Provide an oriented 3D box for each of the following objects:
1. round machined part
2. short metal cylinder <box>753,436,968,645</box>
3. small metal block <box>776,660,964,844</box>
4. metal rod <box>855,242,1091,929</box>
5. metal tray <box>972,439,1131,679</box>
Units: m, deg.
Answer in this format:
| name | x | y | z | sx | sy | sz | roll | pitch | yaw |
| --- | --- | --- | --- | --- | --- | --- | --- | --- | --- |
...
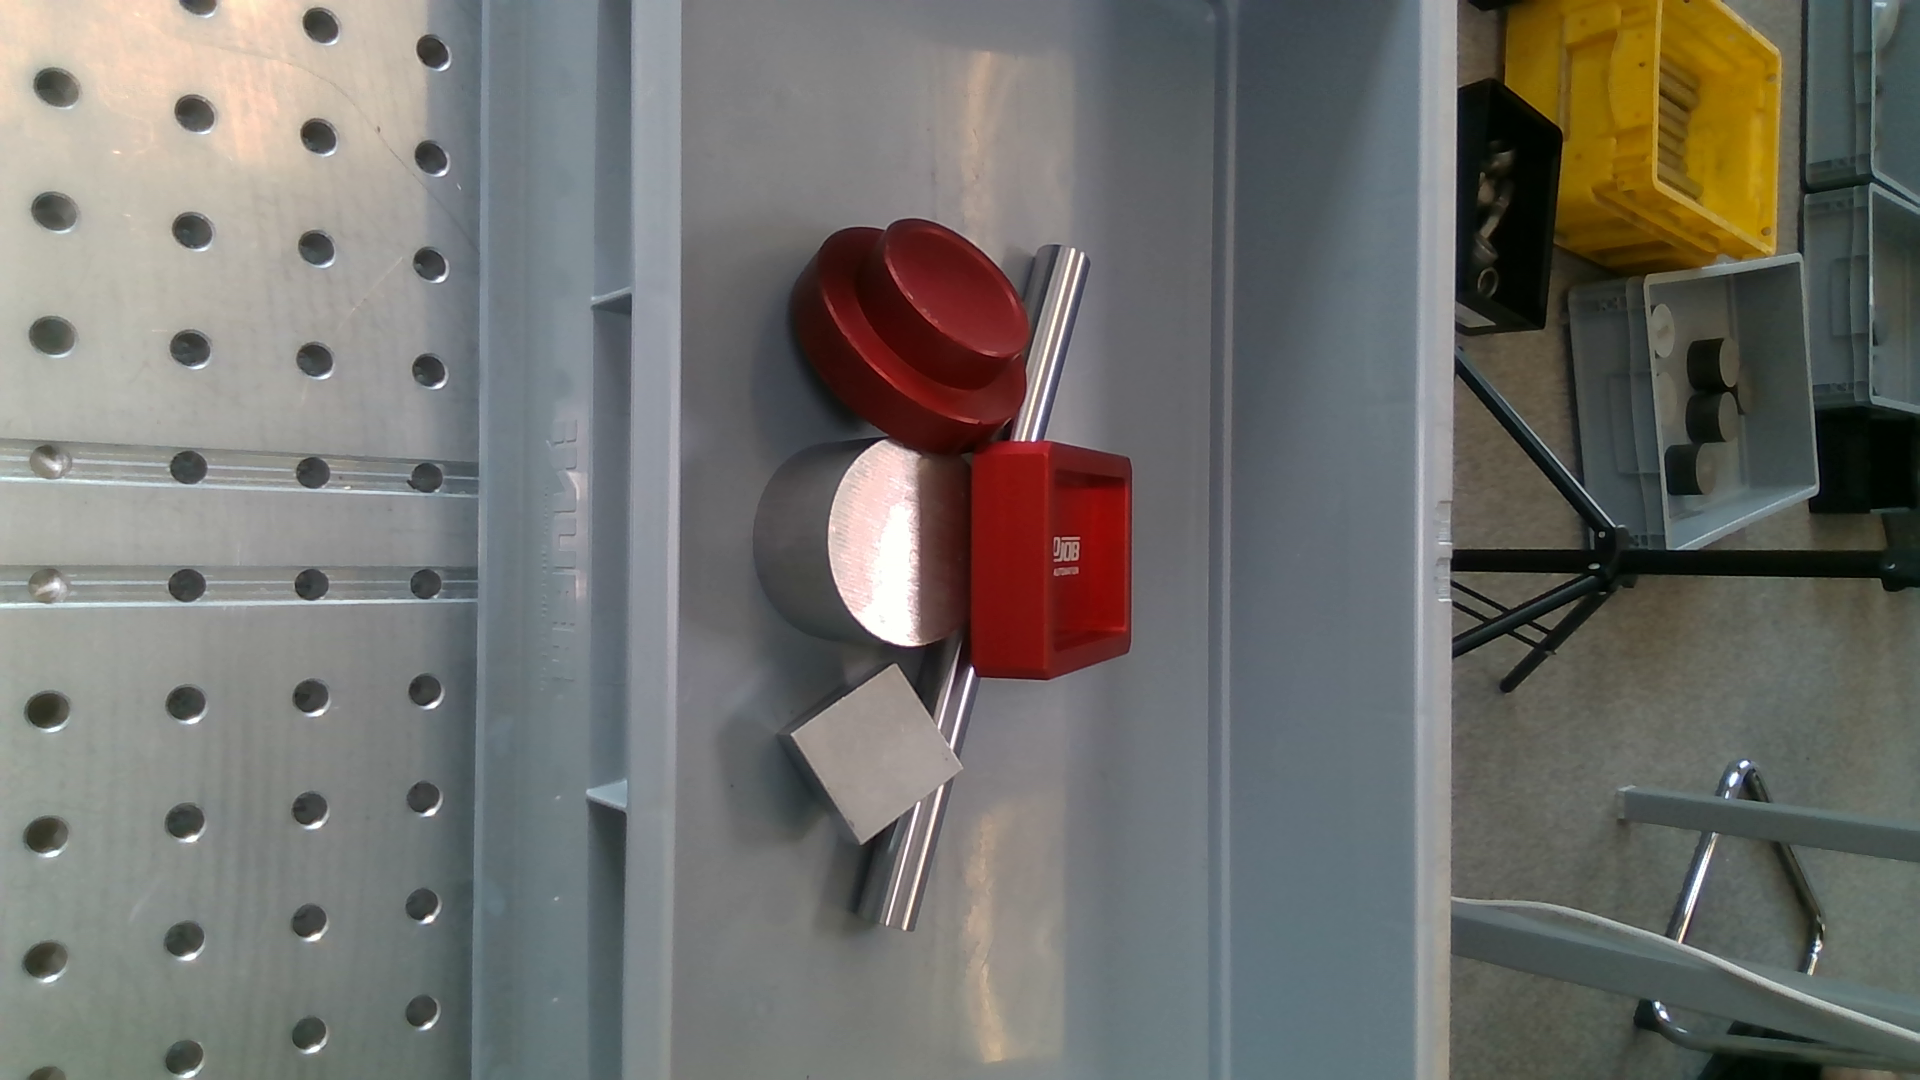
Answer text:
| name | x | y | z | sx | sy | sz | roll | pitch | yaw |
| --- | --- | --- | --- | --- | --- | --- | --- | --- | --- |
| round machined part | -0.012 | -0.085 | 0.529 | 0.098 | 0.042 | 0.098 | 27 | 41 | -26 |
| short metal cylinder | -0.033 | 0.000 | 0.537 | 0.080 | 0.050 | 0.080 | 0 | 90 | -40 |
| small metal block | -0.035 | 0.082 | 0.538 | 0.050 | 0.025 | 0.050 | -33 | 95 | -19 |
| metal rod | 0.008 | 0.013 | 0.589 | 0.025 | 0.025 | 0.299 | 25 | 74 | -37 |
| metal tray | 0.041 | 0.007 | 0.575 | 0.130 | 0.030 | 0.090 | -1 | 92 | -69 |
